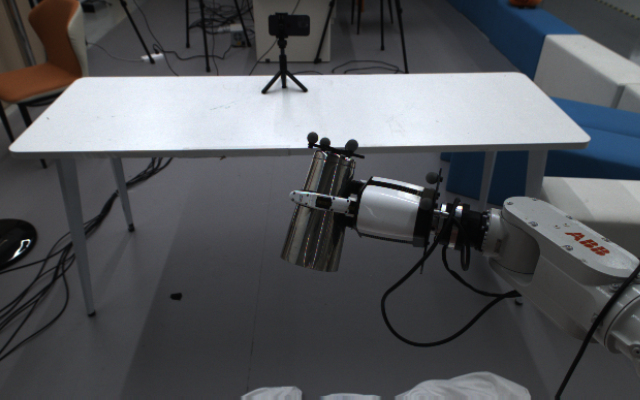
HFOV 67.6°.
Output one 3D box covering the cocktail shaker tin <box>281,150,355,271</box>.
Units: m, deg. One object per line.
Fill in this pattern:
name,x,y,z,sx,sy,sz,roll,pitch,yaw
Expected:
cocktail shaker tin,0.002,0.014,0.742,0.093,0.170,0.093,14,2,0
